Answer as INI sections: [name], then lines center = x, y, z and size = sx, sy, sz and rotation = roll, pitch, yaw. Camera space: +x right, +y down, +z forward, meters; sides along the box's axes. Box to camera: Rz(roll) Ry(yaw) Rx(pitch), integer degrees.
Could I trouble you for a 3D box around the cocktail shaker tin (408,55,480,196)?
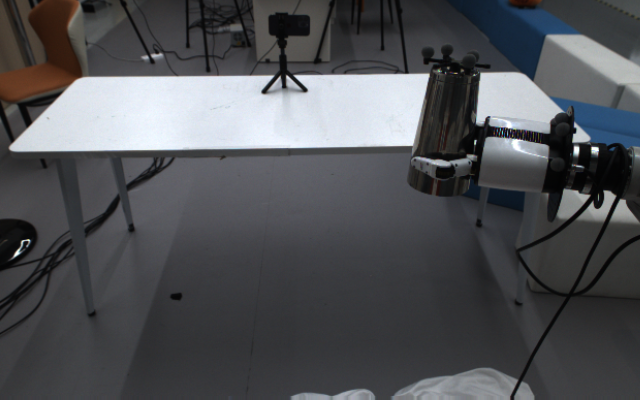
[cocktail shaker tin]
center = 0.182, -0.102, 0.693
size = 0.093, 0.170, 0.093
rotation = 1, 28, -1
